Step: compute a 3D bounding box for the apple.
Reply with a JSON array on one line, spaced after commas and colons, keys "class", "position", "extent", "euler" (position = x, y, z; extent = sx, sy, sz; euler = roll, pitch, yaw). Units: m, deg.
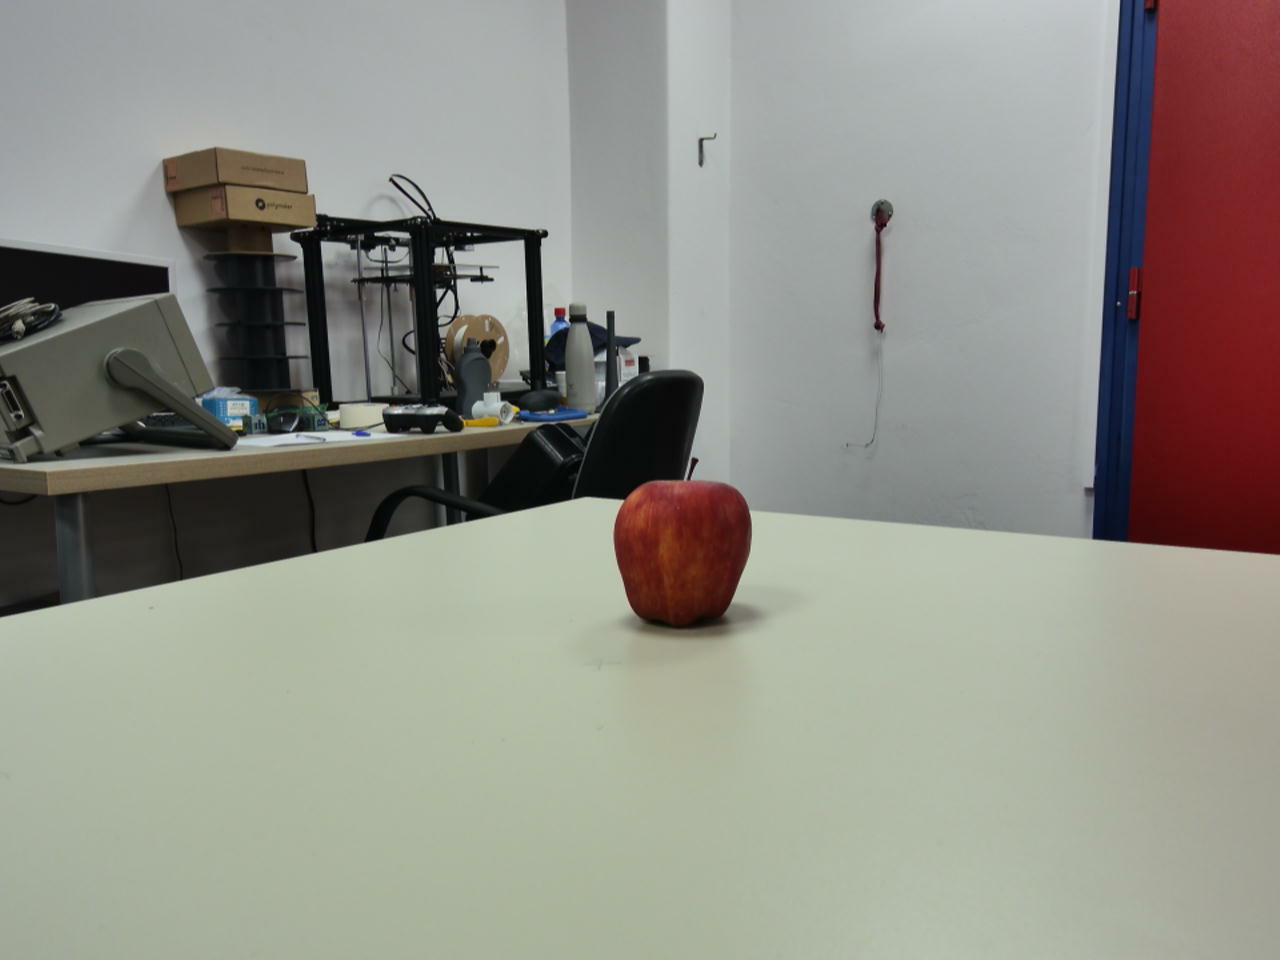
[{"class": "apple", "position": [0.025, 0.033, 0.563], "extent": [0.083, 0.090, 0.083], "euler": [2, 6, 0]}]
